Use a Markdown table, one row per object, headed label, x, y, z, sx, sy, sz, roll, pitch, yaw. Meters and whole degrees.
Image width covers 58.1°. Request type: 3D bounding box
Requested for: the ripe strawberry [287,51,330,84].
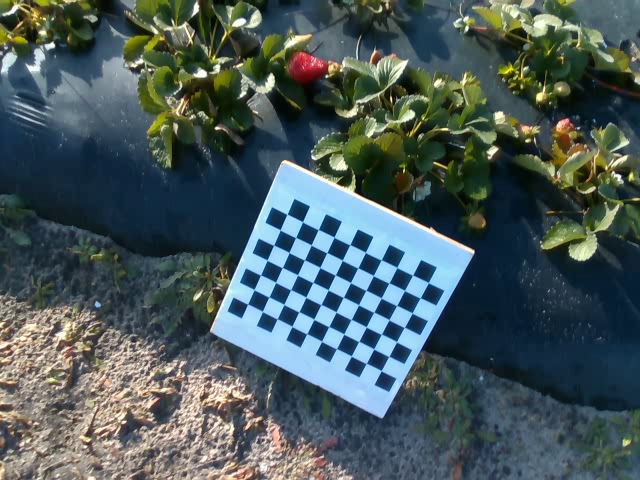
| label | x | y | z | sx | sy | sz | roll | pitch | yaw |
| --- | --- | --- | --- | --- | --- | --- | --- | --- | --- |
| ripe strawberry | -0.020 | -0.257 | 0.841 | 0.072 | 0.057 | 0.055 | 5 | 17 | 17 |
